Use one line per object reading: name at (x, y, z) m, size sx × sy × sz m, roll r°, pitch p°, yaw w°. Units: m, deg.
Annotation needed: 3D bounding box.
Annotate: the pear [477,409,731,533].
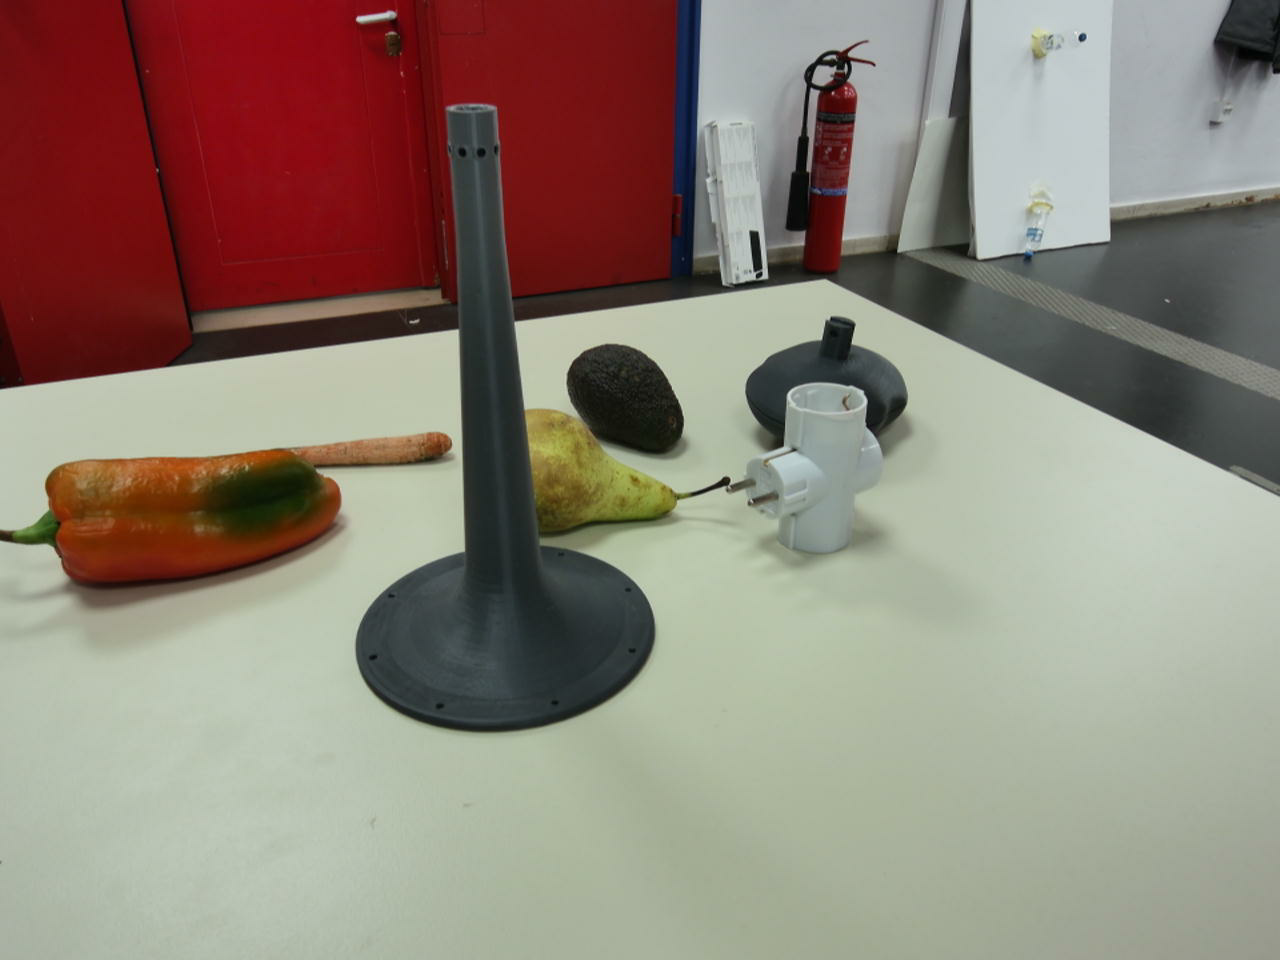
pear at (-0.025, -0.010, 0.604) m, size 0.144 × 0.075 × 0.071 m, roll -9°, pitch 27°, yaw -16°
